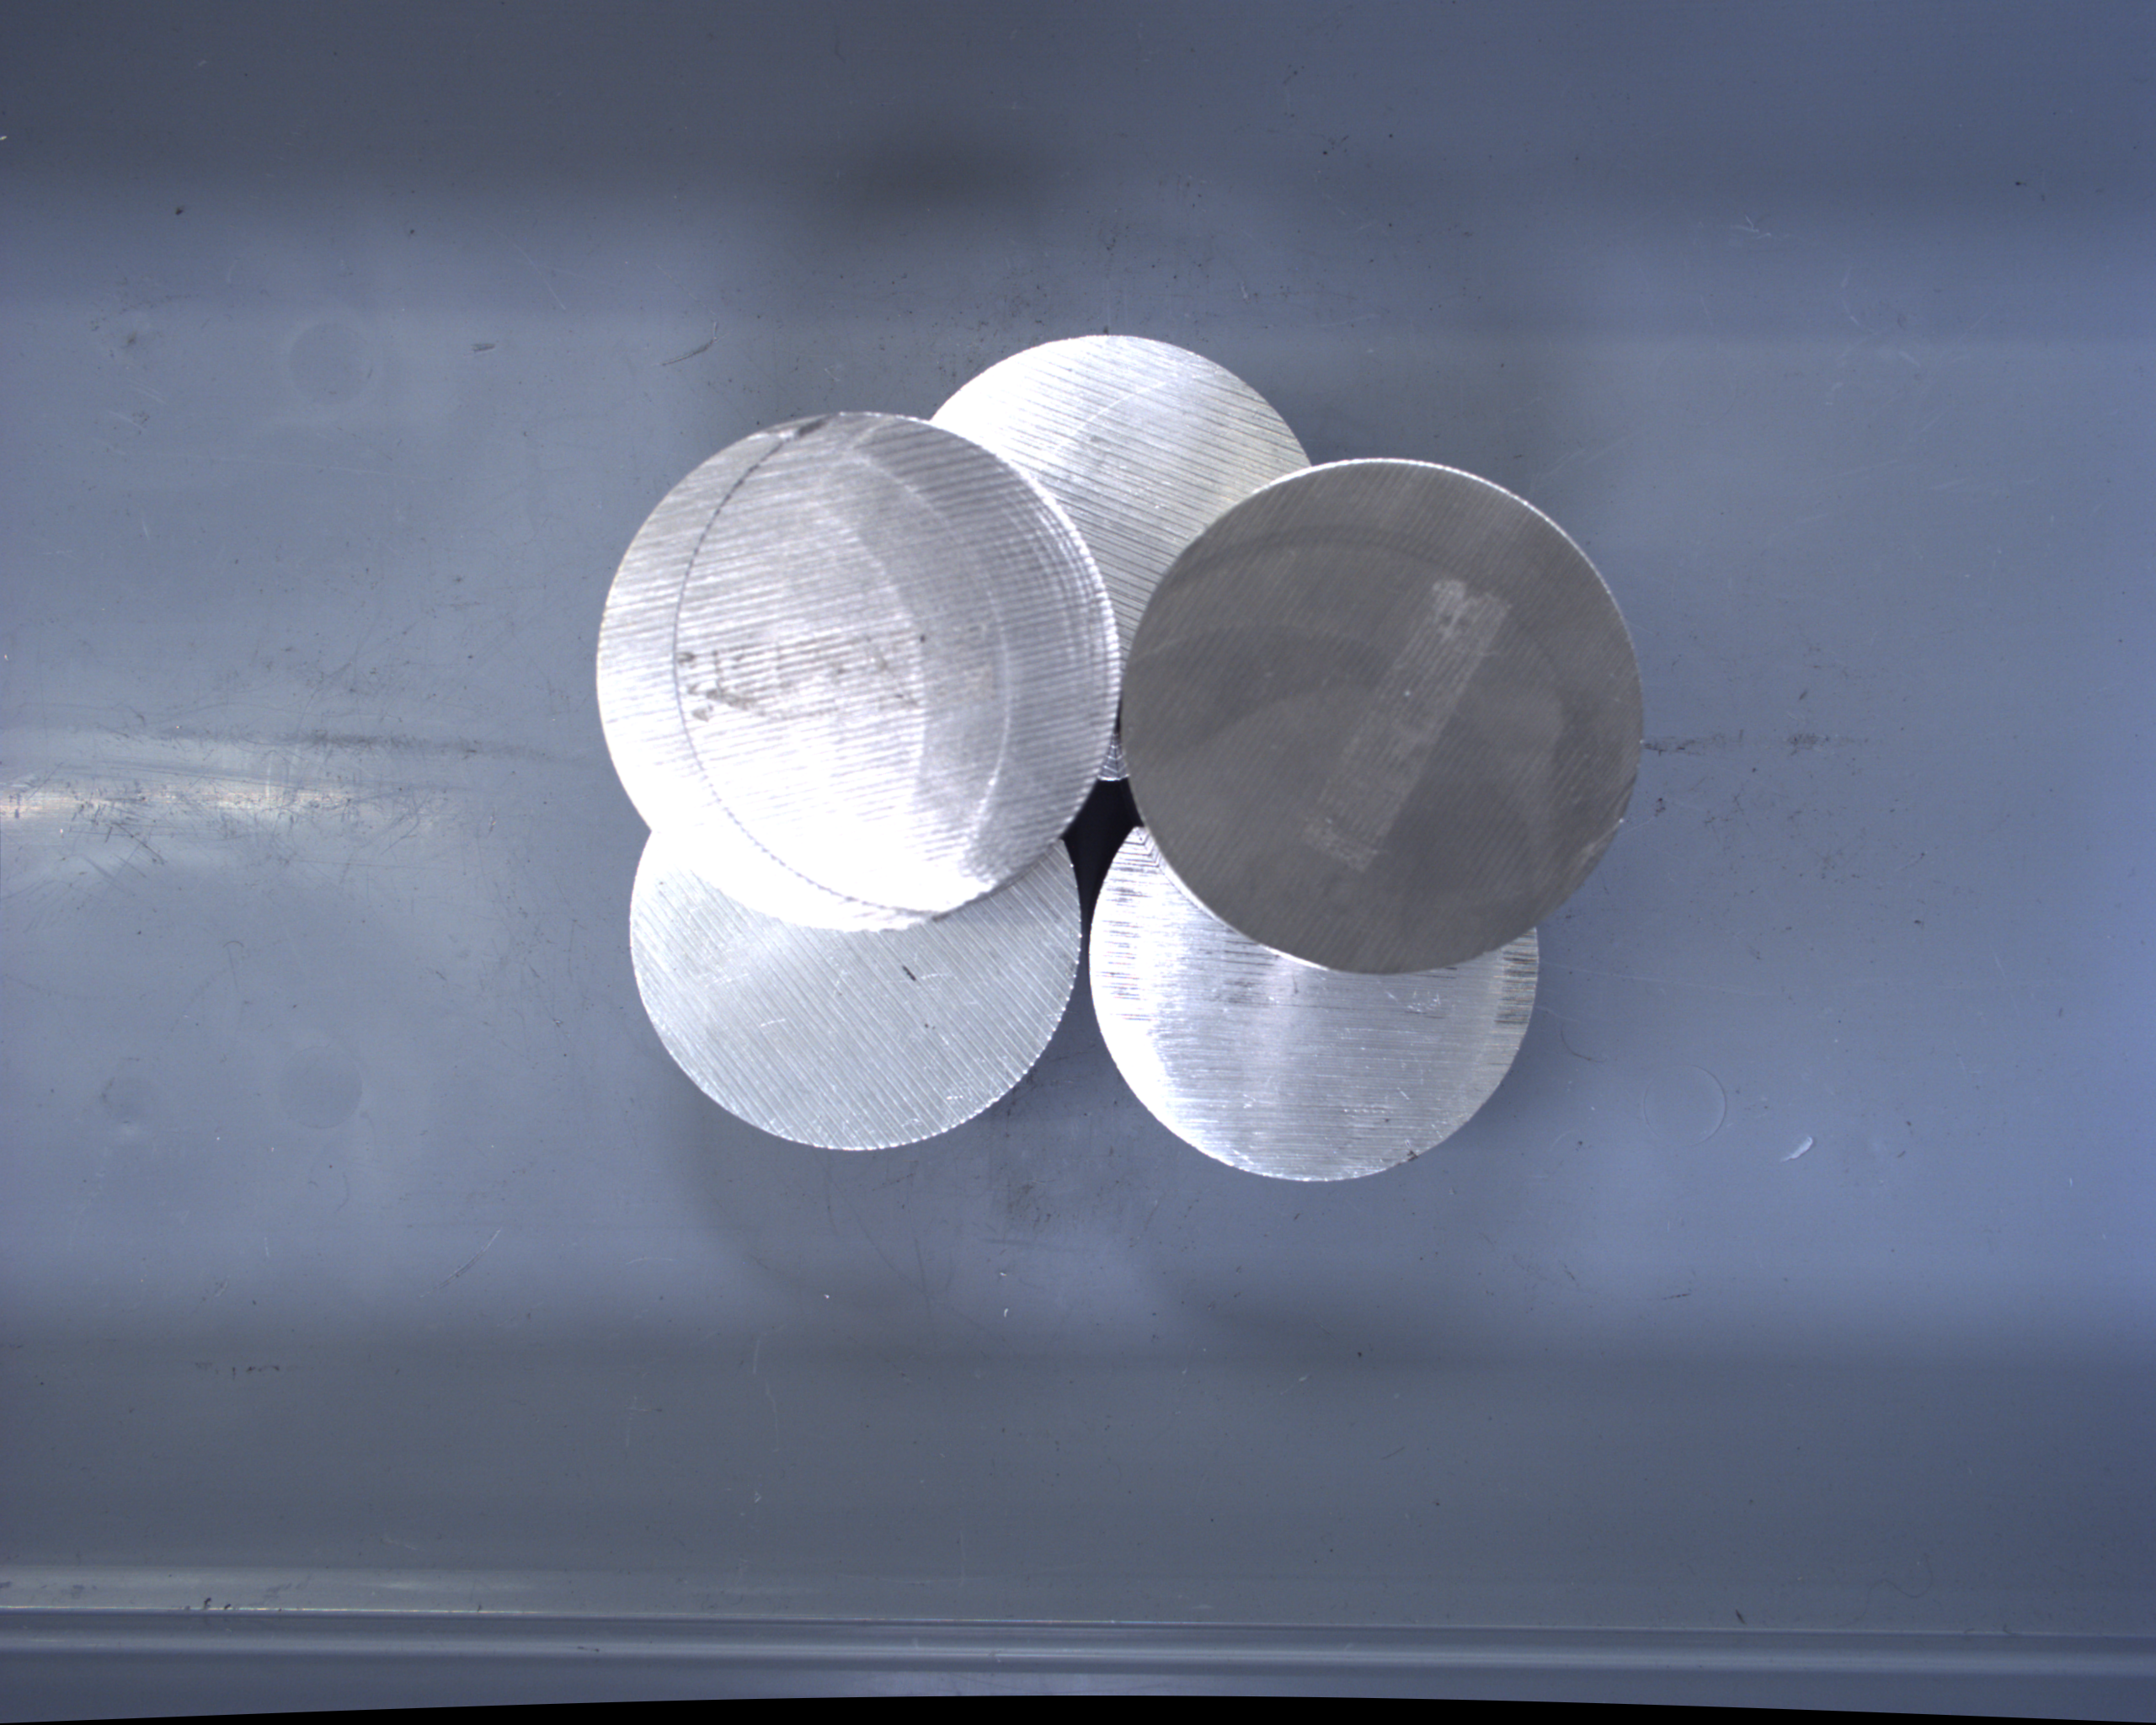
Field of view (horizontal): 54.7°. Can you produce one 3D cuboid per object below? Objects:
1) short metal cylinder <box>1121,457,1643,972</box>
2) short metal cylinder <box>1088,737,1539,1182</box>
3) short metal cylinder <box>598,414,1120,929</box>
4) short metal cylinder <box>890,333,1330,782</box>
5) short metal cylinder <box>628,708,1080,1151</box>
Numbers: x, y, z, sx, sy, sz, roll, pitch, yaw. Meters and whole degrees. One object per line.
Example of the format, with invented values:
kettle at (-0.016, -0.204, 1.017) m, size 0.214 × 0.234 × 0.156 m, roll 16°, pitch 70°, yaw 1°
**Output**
short metal cylinder at (0.047, -0.023, 0.347) m, size 0.081 × 0.050 × 0.080 m, roll 0°, pitch 90°, yaw 0°
short metal cylinder at (0.042, 0.017, 0.397) m, size 0.081 × 0.050 × 0.080 m, roll 0°, pitch 90°, yaw 0°
short metal cylinder at (-0.034, -0.030, 0.347) m, size 0.081 × 0.050 × 0.080 m, roll 0°, pitch 90°, yaw 0°
short metal cylinder at (0.005, -0.055, 0.397) m, size 0.081 × 0.050 × 0.080 m, roll 0°, pitch 90°, yaw 0°
short metal cylinder at (-0.040, 0.011, 0.397) m, size 0.081 × 0.050 × 0.080 m, roll 0°, pitch 90°, yaw 0°
